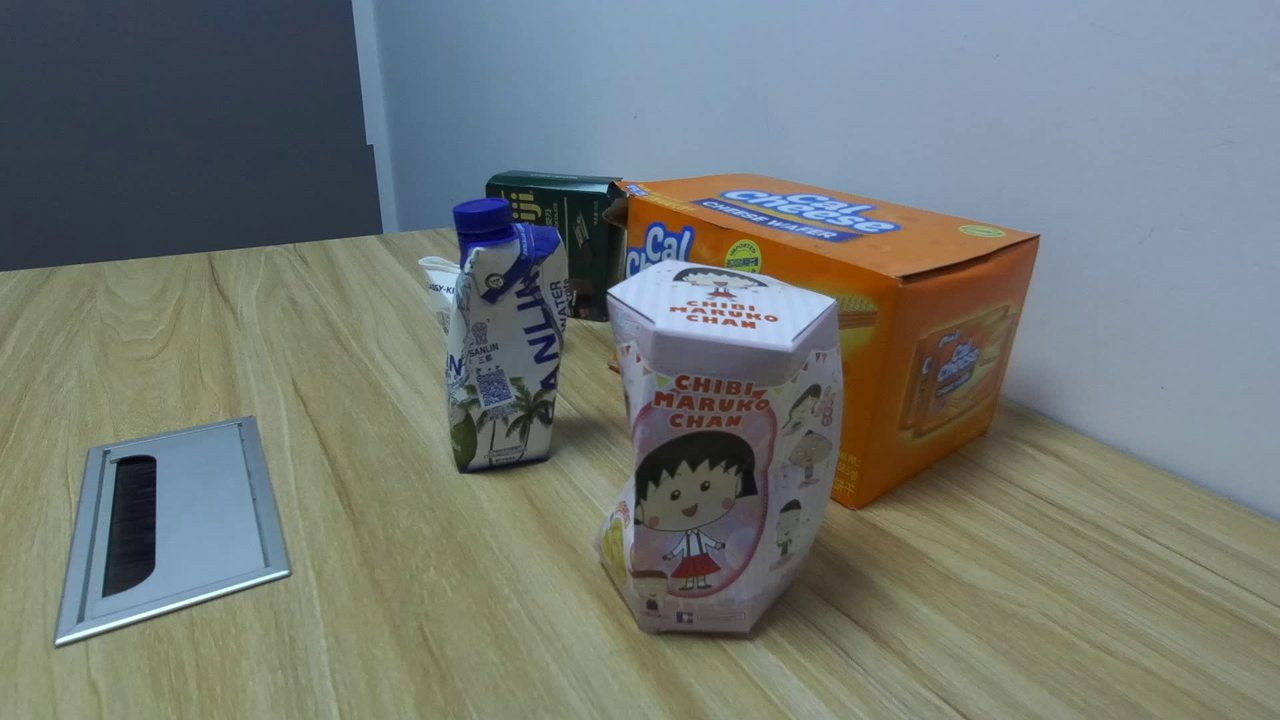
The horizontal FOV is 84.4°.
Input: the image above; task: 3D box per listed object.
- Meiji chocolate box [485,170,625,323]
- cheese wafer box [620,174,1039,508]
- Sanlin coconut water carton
[{"bbox_3d":[-0.068,-0.097,0.597,0.122,0.116,0.058,10,23,17],"label":"Meiji chocolate box"},{"bbox_3d":[0.098,-0.035,0.451,0.150,0.137,0.226,-17,31,-36],"label":"cheese wafer box"},{"bbox_3d":[-0.069,-0.011,0.381,0.069,0.144,0.056,1,29,-22],"label":"Sanlin coconut water carton"}]
